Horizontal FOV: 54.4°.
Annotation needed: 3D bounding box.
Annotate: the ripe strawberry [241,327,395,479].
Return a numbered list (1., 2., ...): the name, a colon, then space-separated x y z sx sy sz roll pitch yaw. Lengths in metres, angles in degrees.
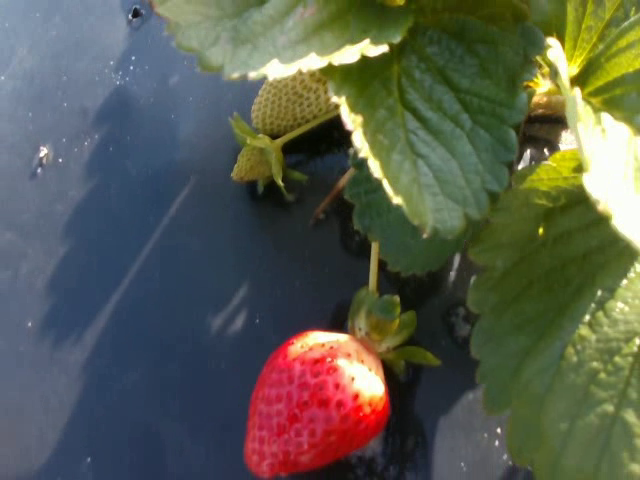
1. ripe strawberry: -0.003 0.041 0.136 0.045 0.033 0.030 -42 29 -8
